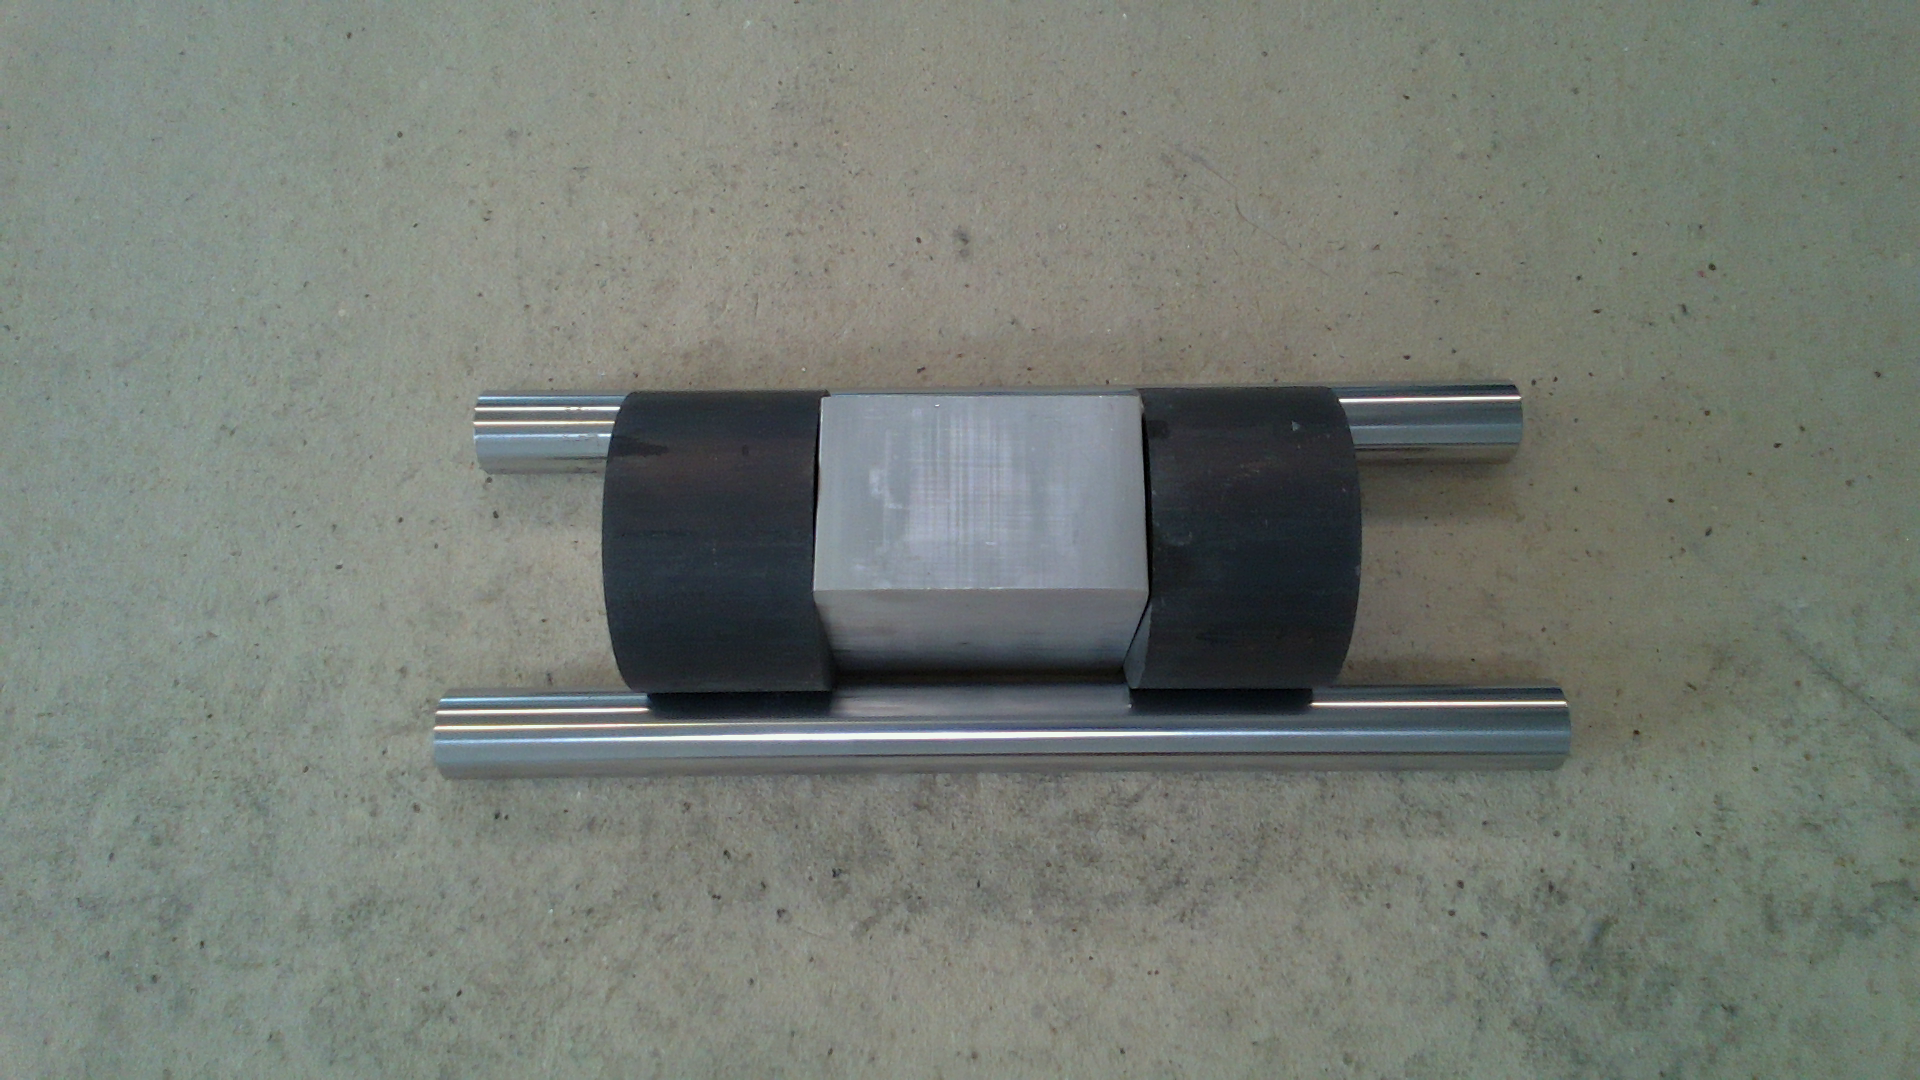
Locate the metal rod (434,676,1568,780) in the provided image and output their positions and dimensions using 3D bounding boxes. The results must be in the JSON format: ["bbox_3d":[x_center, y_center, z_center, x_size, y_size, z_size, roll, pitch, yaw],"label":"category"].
[{"bbox_3d":[0.011,0.051,0.376,0.300,0.025,0.025,-1,70,0],"label":"metal rod"}]

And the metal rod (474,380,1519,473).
[{"bbox_3d":[0.011,-0.034,0.407,0.300,0.025,0.025,-1,70,0],"label":"metal rod"}]

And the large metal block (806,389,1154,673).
[{"bbox_3d":[0.005,0.001,0.362,0.080,0.080,0.050,0,70,0],"label":"large metal block"}]

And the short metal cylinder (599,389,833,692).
[{"bbox_3d":[-0.060,0.000,0.365,0.050,0.080,0.080,-1,70,0],"label":"short metal cylinder"}]

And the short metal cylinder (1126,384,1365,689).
[{"bbox_3d":[0.071,-0.001,0.365,0.050,0.080,0.080,-1,70,0],"label":"short metal cylinder"}]
